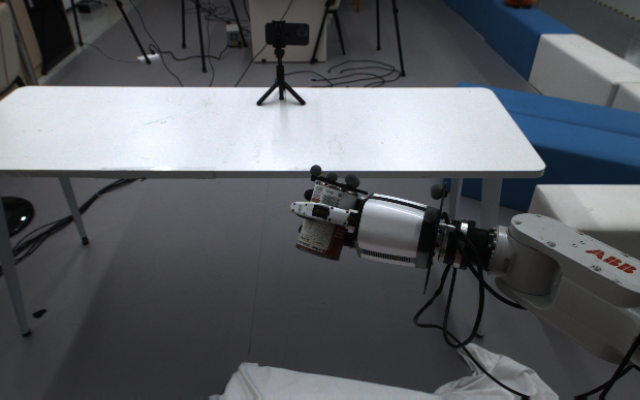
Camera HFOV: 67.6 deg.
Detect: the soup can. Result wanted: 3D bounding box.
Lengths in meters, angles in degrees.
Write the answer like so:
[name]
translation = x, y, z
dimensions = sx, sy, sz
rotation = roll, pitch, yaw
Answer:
[soup can]
translation = 0.012, 0.031, 0.711
dimensions = 0.067, 0.101, 0.067
rotation = 17, -1, 0
